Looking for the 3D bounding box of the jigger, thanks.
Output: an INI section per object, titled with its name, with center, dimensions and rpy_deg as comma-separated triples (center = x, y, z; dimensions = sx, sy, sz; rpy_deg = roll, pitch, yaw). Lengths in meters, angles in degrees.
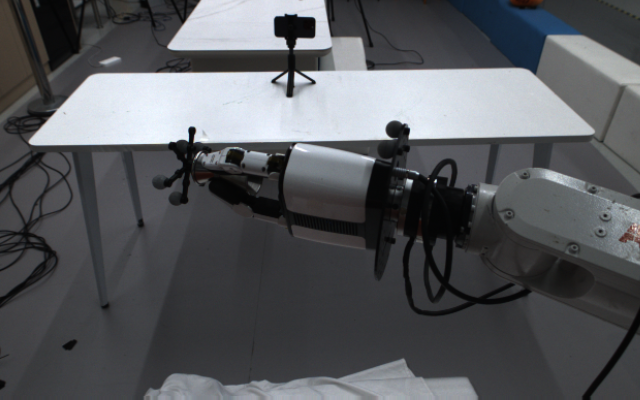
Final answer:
[jigger]
center = -0.096, -0.034, 0.539
dimensions = 0.071, 0.043, 0.043
rpy_deg = 9, 35, 16
